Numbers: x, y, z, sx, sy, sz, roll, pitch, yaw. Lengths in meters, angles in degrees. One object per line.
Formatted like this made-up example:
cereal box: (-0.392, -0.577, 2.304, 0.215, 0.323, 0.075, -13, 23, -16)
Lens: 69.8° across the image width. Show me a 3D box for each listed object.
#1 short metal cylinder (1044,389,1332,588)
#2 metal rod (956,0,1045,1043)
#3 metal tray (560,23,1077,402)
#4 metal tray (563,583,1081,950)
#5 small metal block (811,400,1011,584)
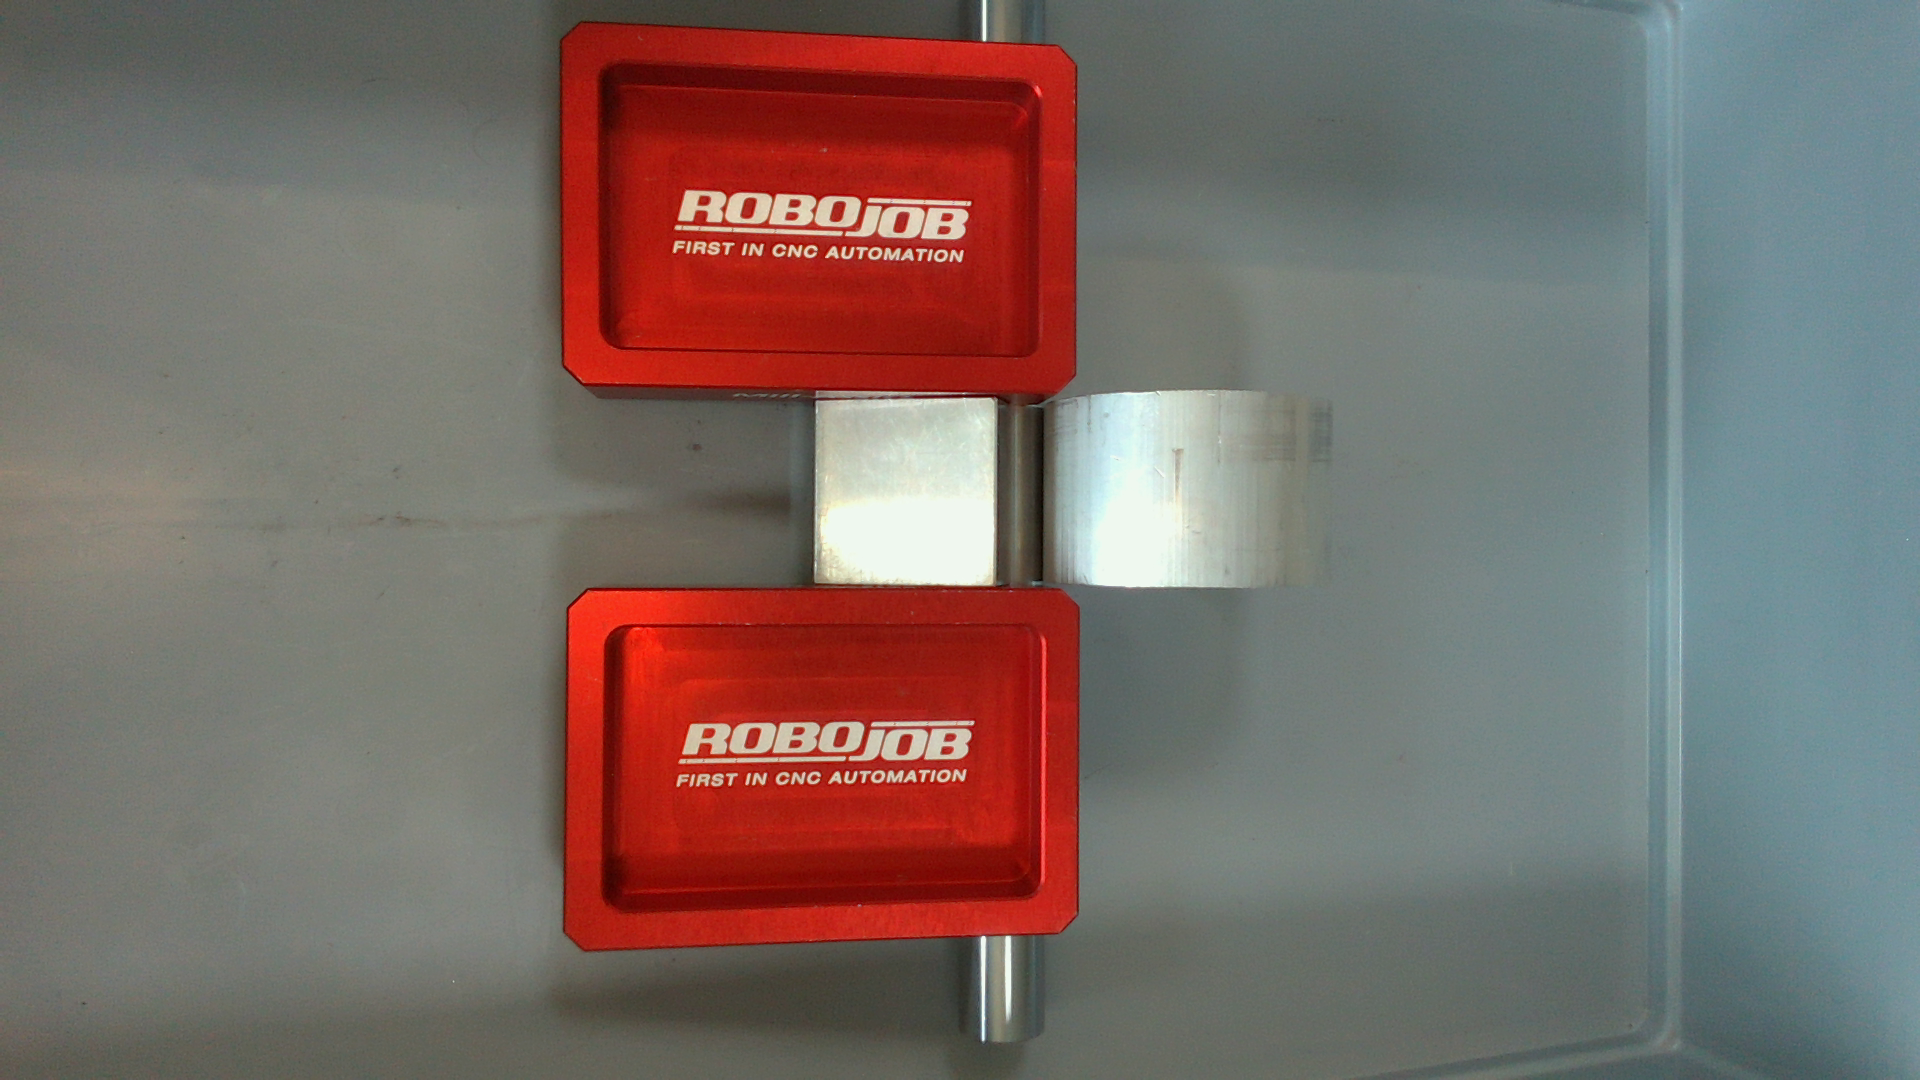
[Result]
short metal cylinder: (0.063, -0.013, 0.386, 0.080, 0.080, 0.050, 0, 90, -20)
metal rod: (0.012, -0.010, 0.396, 0.025, 0.025, 0.300, 0, 90, -20)
metal tray: (-0.036, -0.083, 0.362, 0.130, 0.030, 0.090, 0, 90, -8)
metal tray: (-0.035, 0.057, 0.362, 0.130, 0.030, 0.090, 0, 90, -8)
small metal block: (-0.013, -0.013, 0.376, 0.050, 0.025, 0.050, 1, 90, 11)
